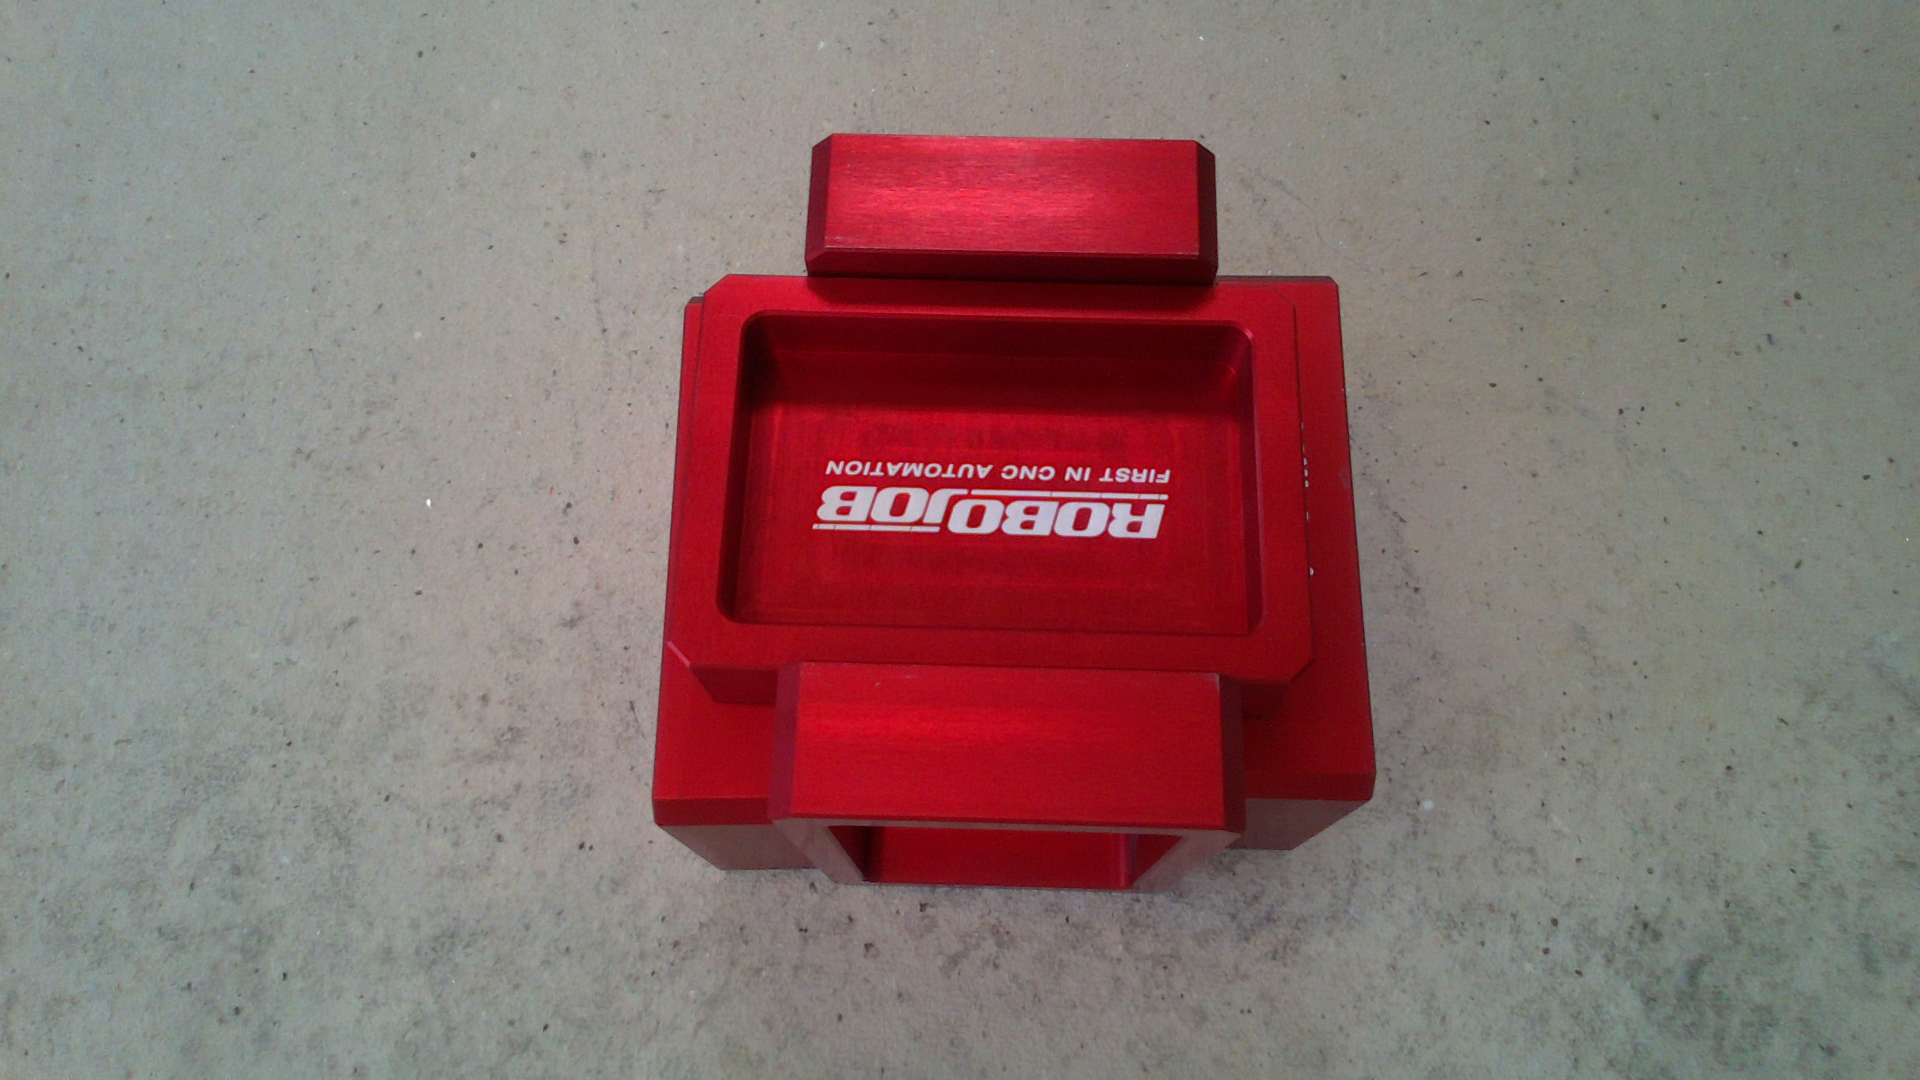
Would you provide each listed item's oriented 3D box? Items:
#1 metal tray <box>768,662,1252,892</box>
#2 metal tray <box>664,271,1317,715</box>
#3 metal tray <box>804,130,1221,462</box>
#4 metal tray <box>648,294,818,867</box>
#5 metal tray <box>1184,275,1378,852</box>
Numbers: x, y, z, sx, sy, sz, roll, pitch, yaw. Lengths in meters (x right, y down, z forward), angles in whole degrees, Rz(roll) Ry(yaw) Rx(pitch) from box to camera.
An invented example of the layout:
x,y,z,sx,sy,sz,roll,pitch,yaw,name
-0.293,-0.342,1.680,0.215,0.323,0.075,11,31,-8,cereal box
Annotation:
x,y,z,sx,sy,sz,roll,pitch,yaw,name
0.010,0.060,0.317,0.090,0.130,0.030,1,71,1,metal tray
0.007,-0.011,0.300,0.130,0.030,0.090,1,70,0,metal tray
0.012,-0.053,0.358,0.090,0.130,0.030,2,70,1,metal tray
-0.052,0.014,0.355,0.030,0.090,0.130,0,70,0,metal tray
0.077,0.009,0.357,0.030,0.090,0.130,1,69,1,metal tray
